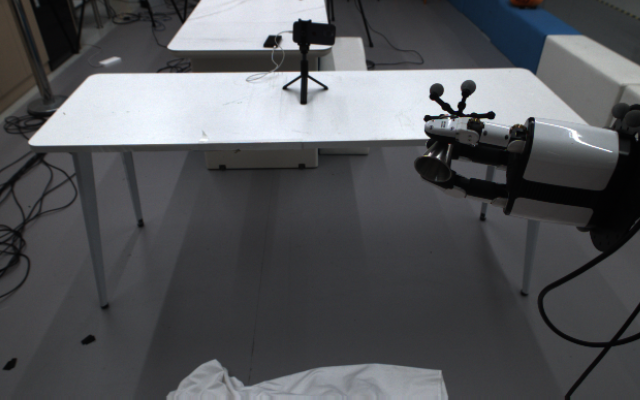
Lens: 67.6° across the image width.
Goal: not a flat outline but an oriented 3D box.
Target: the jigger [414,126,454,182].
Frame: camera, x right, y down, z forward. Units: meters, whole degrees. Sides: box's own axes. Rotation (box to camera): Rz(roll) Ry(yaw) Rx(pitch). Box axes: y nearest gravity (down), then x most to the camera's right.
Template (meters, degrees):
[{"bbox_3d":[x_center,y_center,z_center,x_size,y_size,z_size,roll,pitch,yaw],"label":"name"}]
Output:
[{"bbox_3d":[0.141,-0.064,0.555,0.043,0.043,0.071,19,61,23],"label":"jigger"}]
